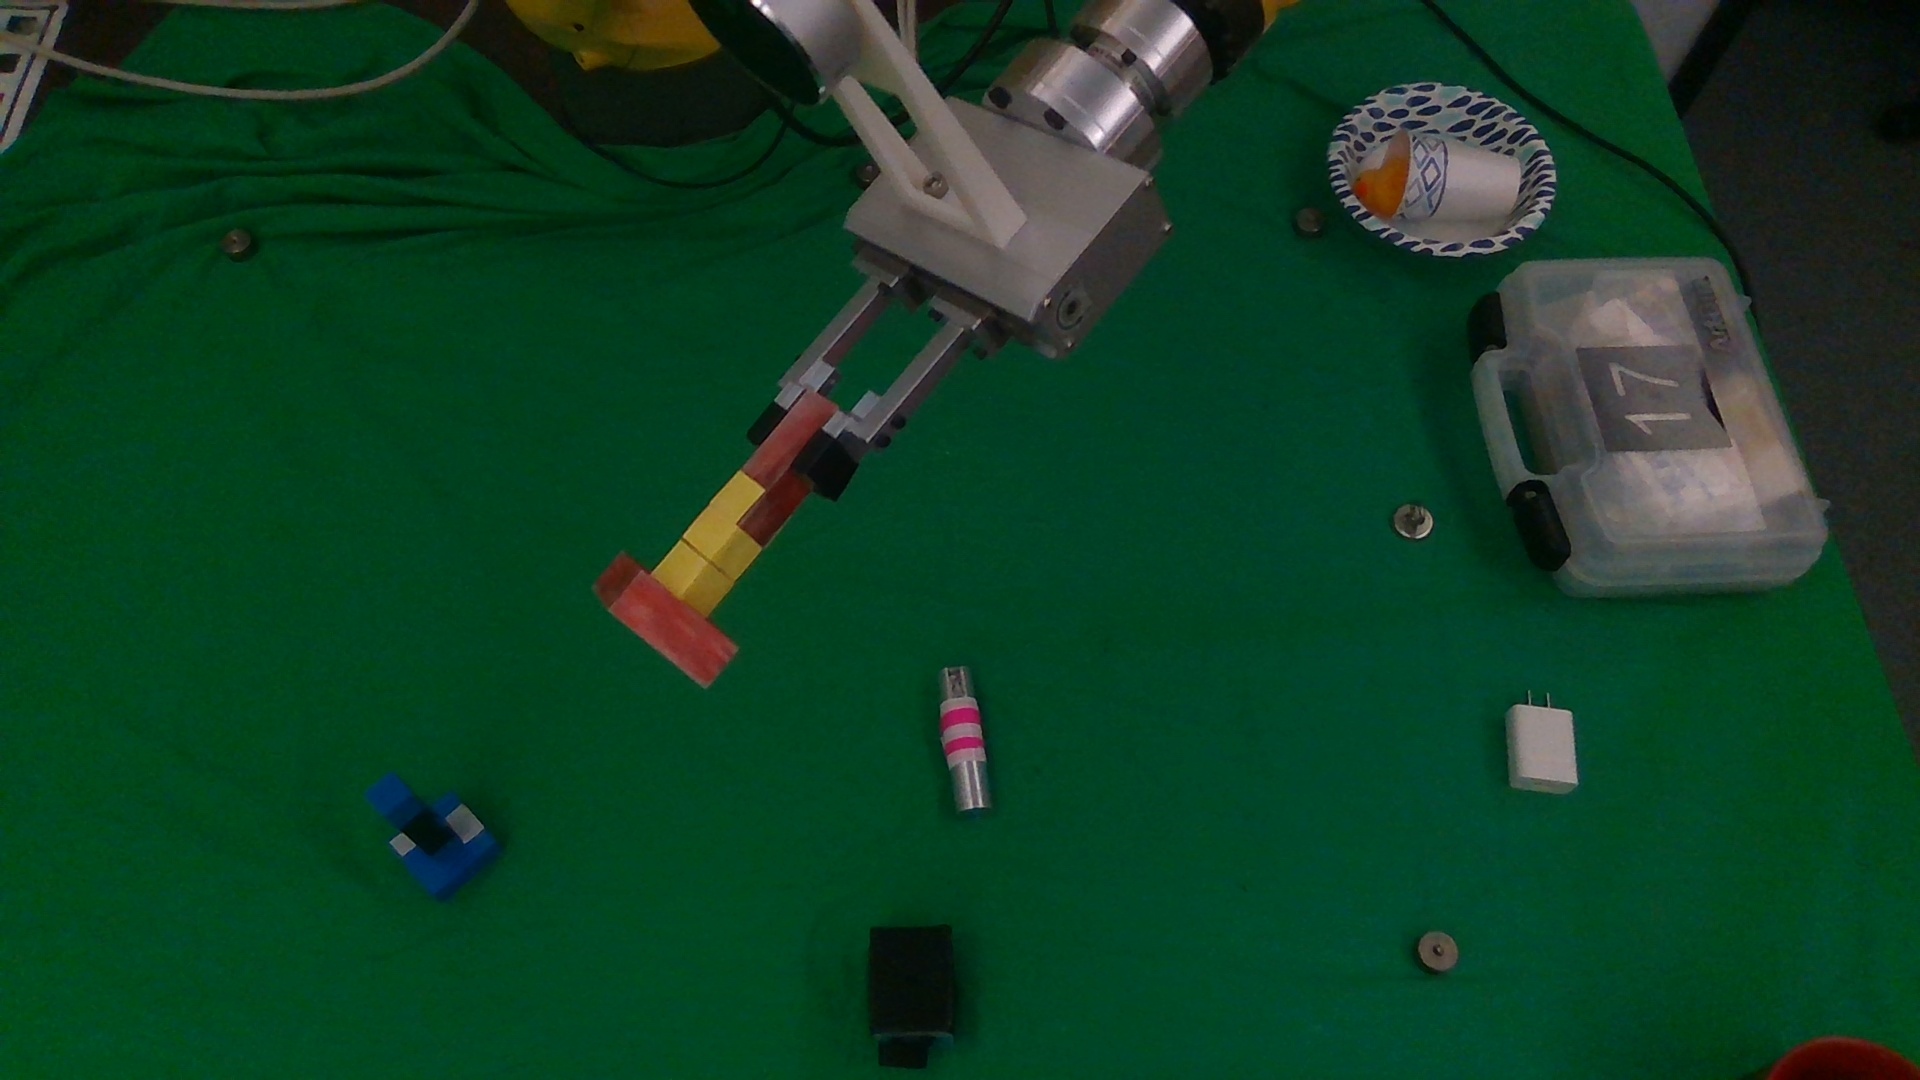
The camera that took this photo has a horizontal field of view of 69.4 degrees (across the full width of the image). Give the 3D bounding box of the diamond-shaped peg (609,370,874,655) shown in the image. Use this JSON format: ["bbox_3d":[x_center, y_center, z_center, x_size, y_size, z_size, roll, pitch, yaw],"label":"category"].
[{"bbox_3d":[-0.082,-0.017,0.561,0.074,0.045,0.122,40,82,11],"label":"diamond-shaped peg"}]

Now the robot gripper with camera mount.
[{"bbox_3d":[-0.042,-0.129,0.506,0.119,0.193,0.158,36,85,32],"label":"robot gripper with camera mount"}]
